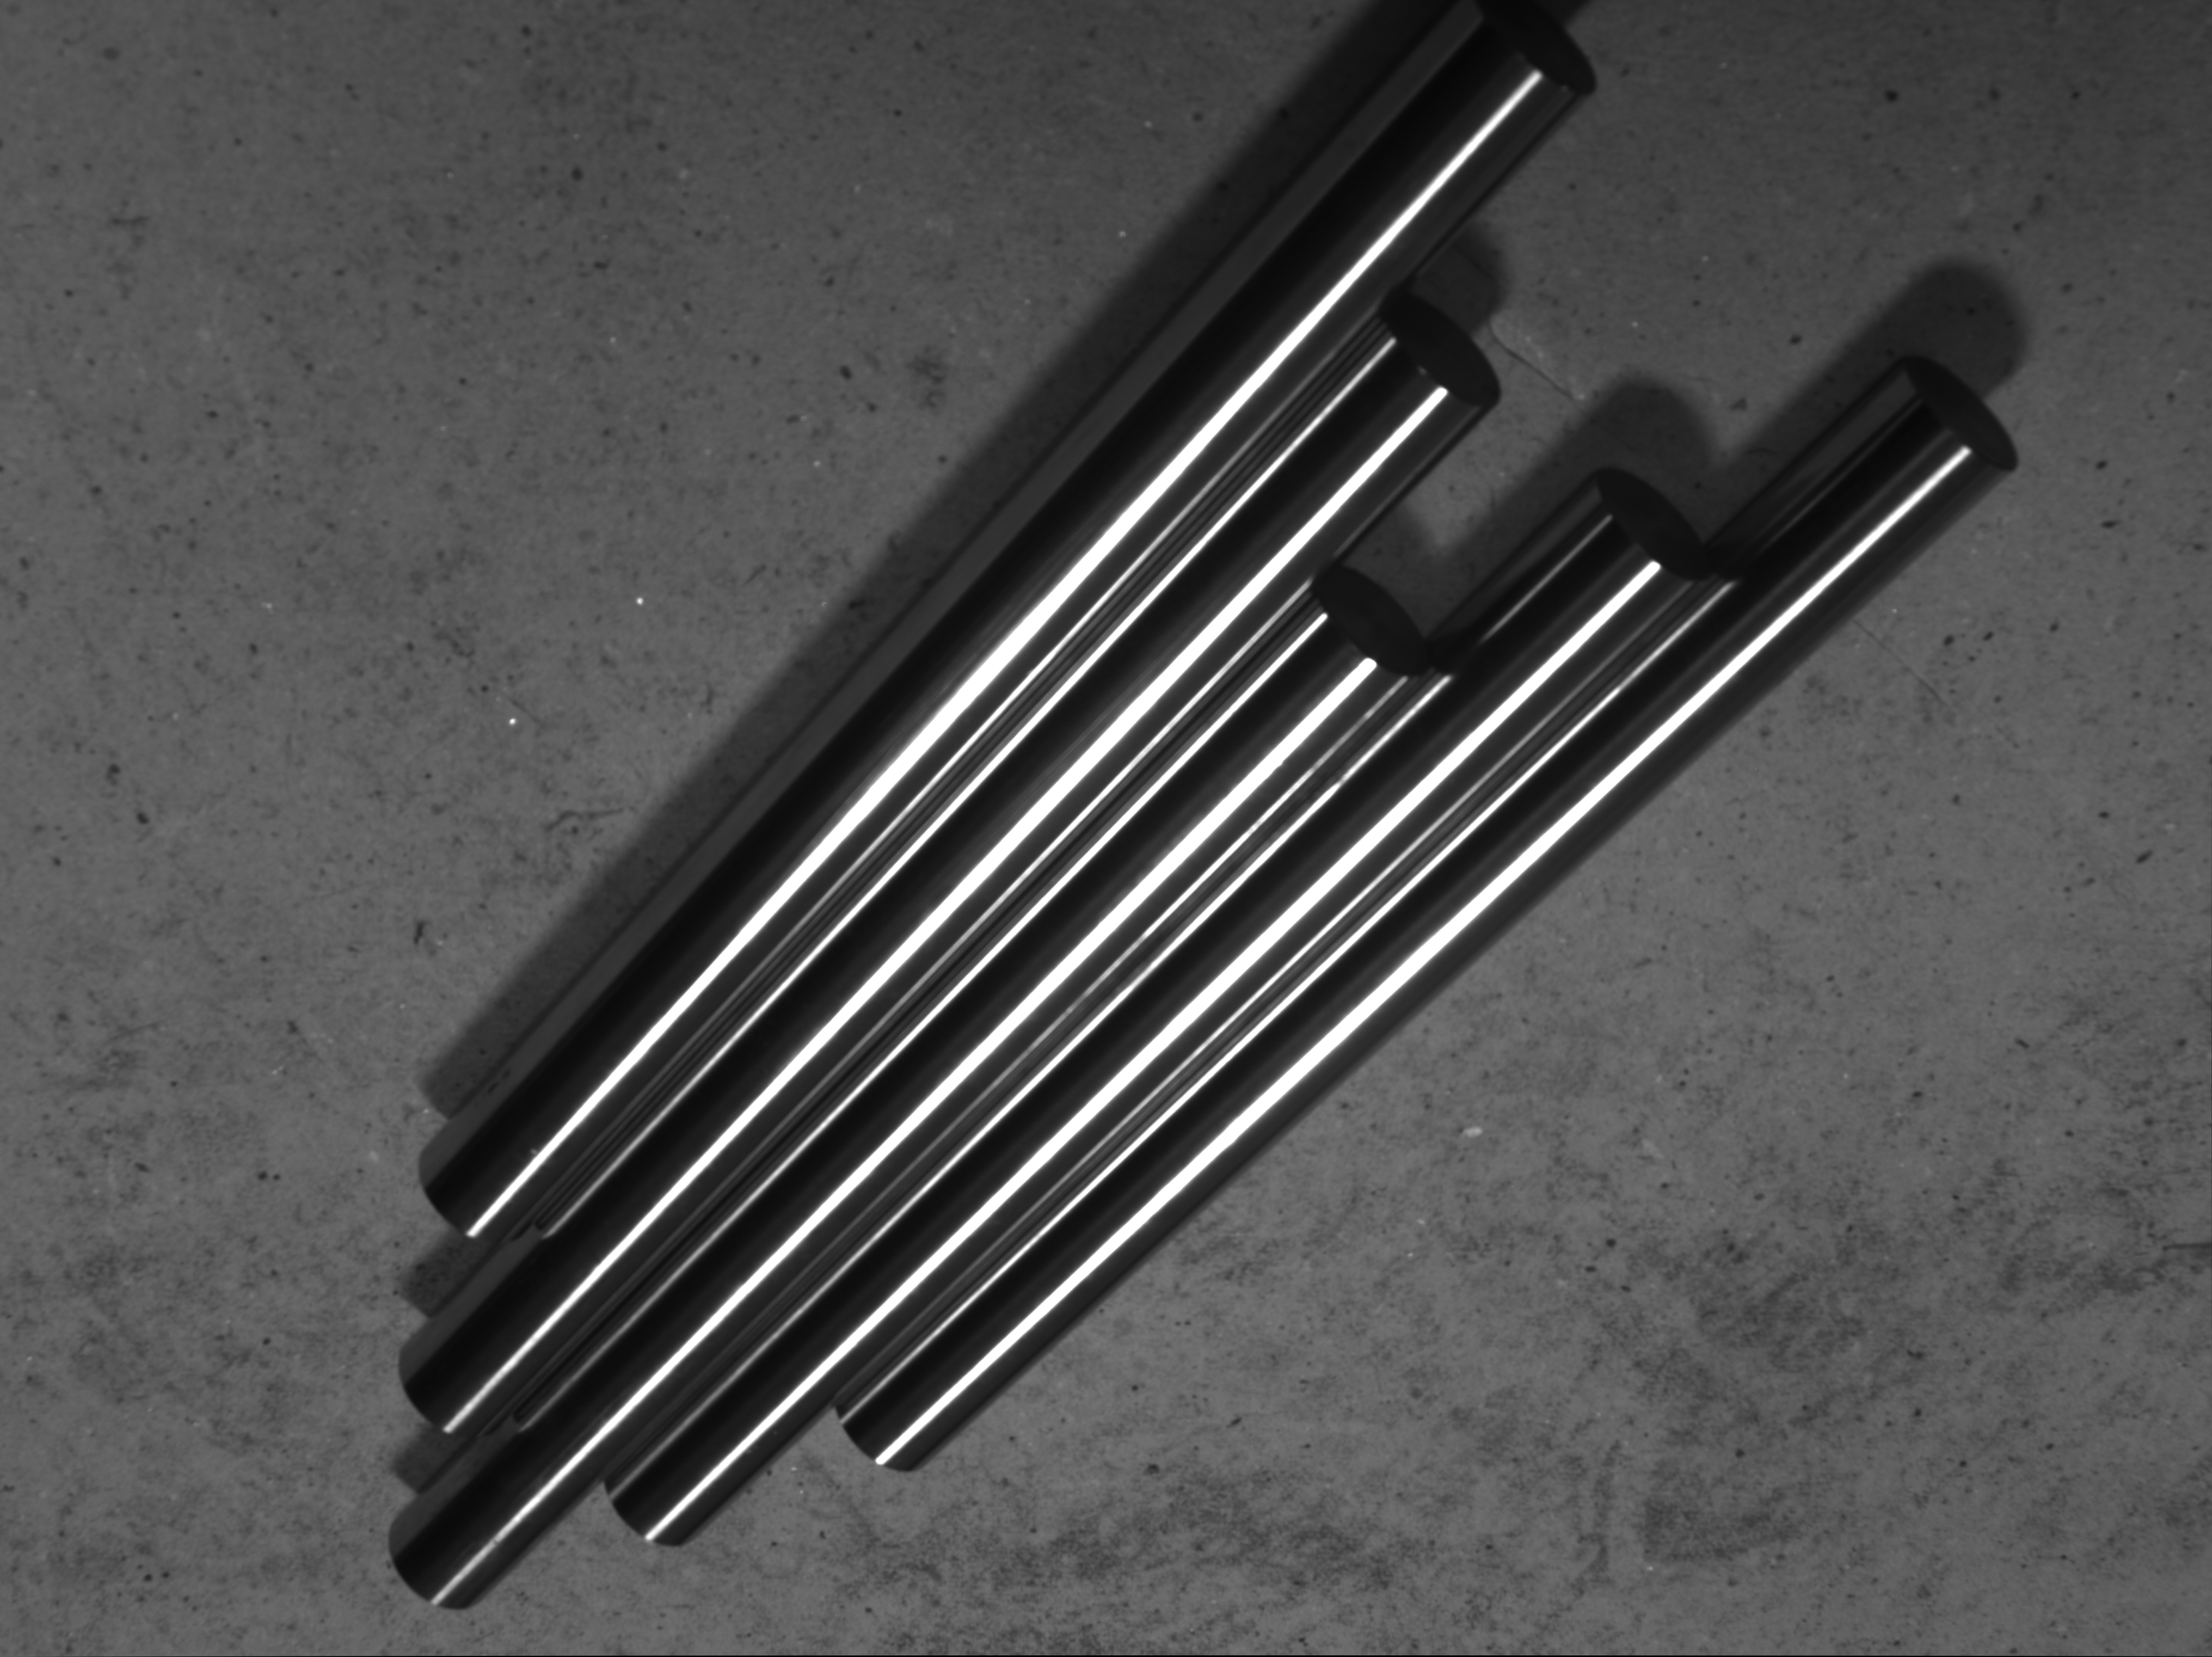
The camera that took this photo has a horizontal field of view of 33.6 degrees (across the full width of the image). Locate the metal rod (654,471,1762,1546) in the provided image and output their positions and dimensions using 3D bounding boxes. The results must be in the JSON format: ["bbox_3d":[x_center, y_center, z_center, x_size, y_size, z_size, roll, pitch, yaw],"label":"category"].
[{"bbox_3d":[0.008,0.043,0.675,0.025,0.025,0.300,30,123,-24],"label":"metal rod"}]

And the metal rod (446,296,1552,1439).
[{"bbox_3d":[-0.030,0.018,0.652,0.025,0.025,0.300,30,123,-24],"label":"metal rod"}]

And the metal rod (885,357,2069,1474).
[{"bbox_3d":[0.055,0.026,0.662,0.025,0.025,0.300,30,123,-24],"label":"metal rod"}]

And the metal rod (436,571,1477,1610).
[{"bbox_3d":[-0.038,0.058,0.686,0.025,0.025,0.300,30,123,-24],"label":"metal rod"}]

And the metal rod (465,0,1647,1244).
[{"bbox_3d":[-0.020,-0.024,0.617,0.025,0.025,0.300,30,123,-24],"label":"metal rod"}]
